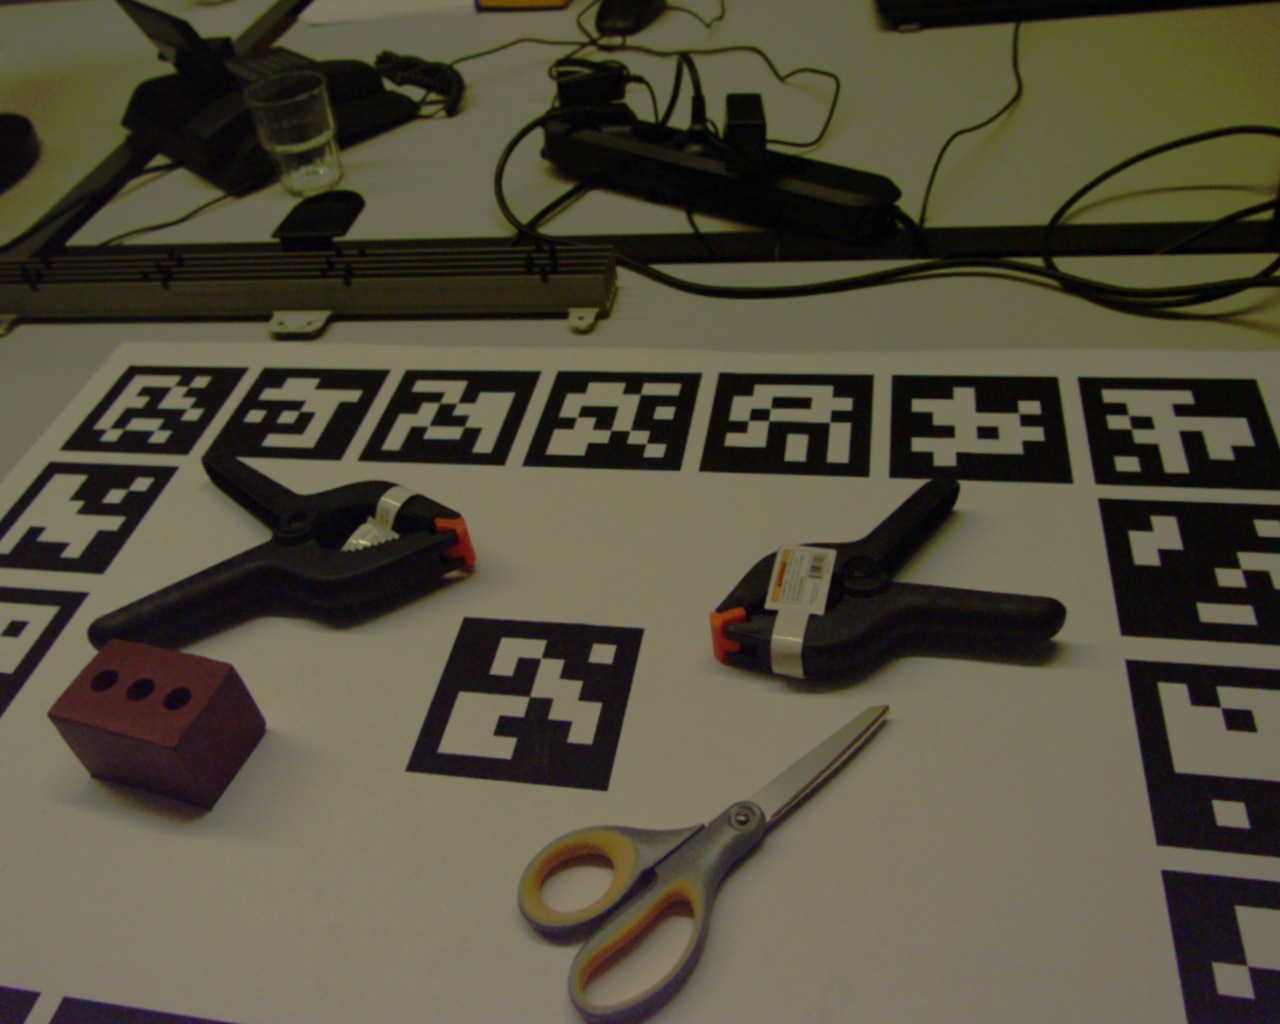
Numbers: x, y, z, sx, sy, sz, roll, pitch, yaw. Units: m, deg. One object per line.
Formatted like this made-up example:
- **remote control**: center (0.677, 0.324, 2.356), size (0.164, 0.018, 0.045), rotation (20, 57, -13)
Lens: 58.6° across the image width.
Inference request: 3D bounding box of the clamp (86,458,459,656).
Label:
- **clamp**: center (-0.210, 0.024, 0.695), size (0.204, 0.036, 0.165), rotation (0, 41, 9)

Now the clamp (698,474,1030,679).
- **clamp**: center (0.109, 0.046, 0.620), size (0.164, 0.036, 0.123), rotation (-18, 51, -7)

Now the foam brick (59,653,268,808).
- **foam brick**: center (-0.250, 0.115, 0.601), size (0.079, 0.051, 0.052), rotation (5, 47, 21)

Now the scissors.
- **scissors**: center (0.024, 0.147, 0.535), size (0.201, 0.016, 0.089), rotation (-34, 56, -25)
